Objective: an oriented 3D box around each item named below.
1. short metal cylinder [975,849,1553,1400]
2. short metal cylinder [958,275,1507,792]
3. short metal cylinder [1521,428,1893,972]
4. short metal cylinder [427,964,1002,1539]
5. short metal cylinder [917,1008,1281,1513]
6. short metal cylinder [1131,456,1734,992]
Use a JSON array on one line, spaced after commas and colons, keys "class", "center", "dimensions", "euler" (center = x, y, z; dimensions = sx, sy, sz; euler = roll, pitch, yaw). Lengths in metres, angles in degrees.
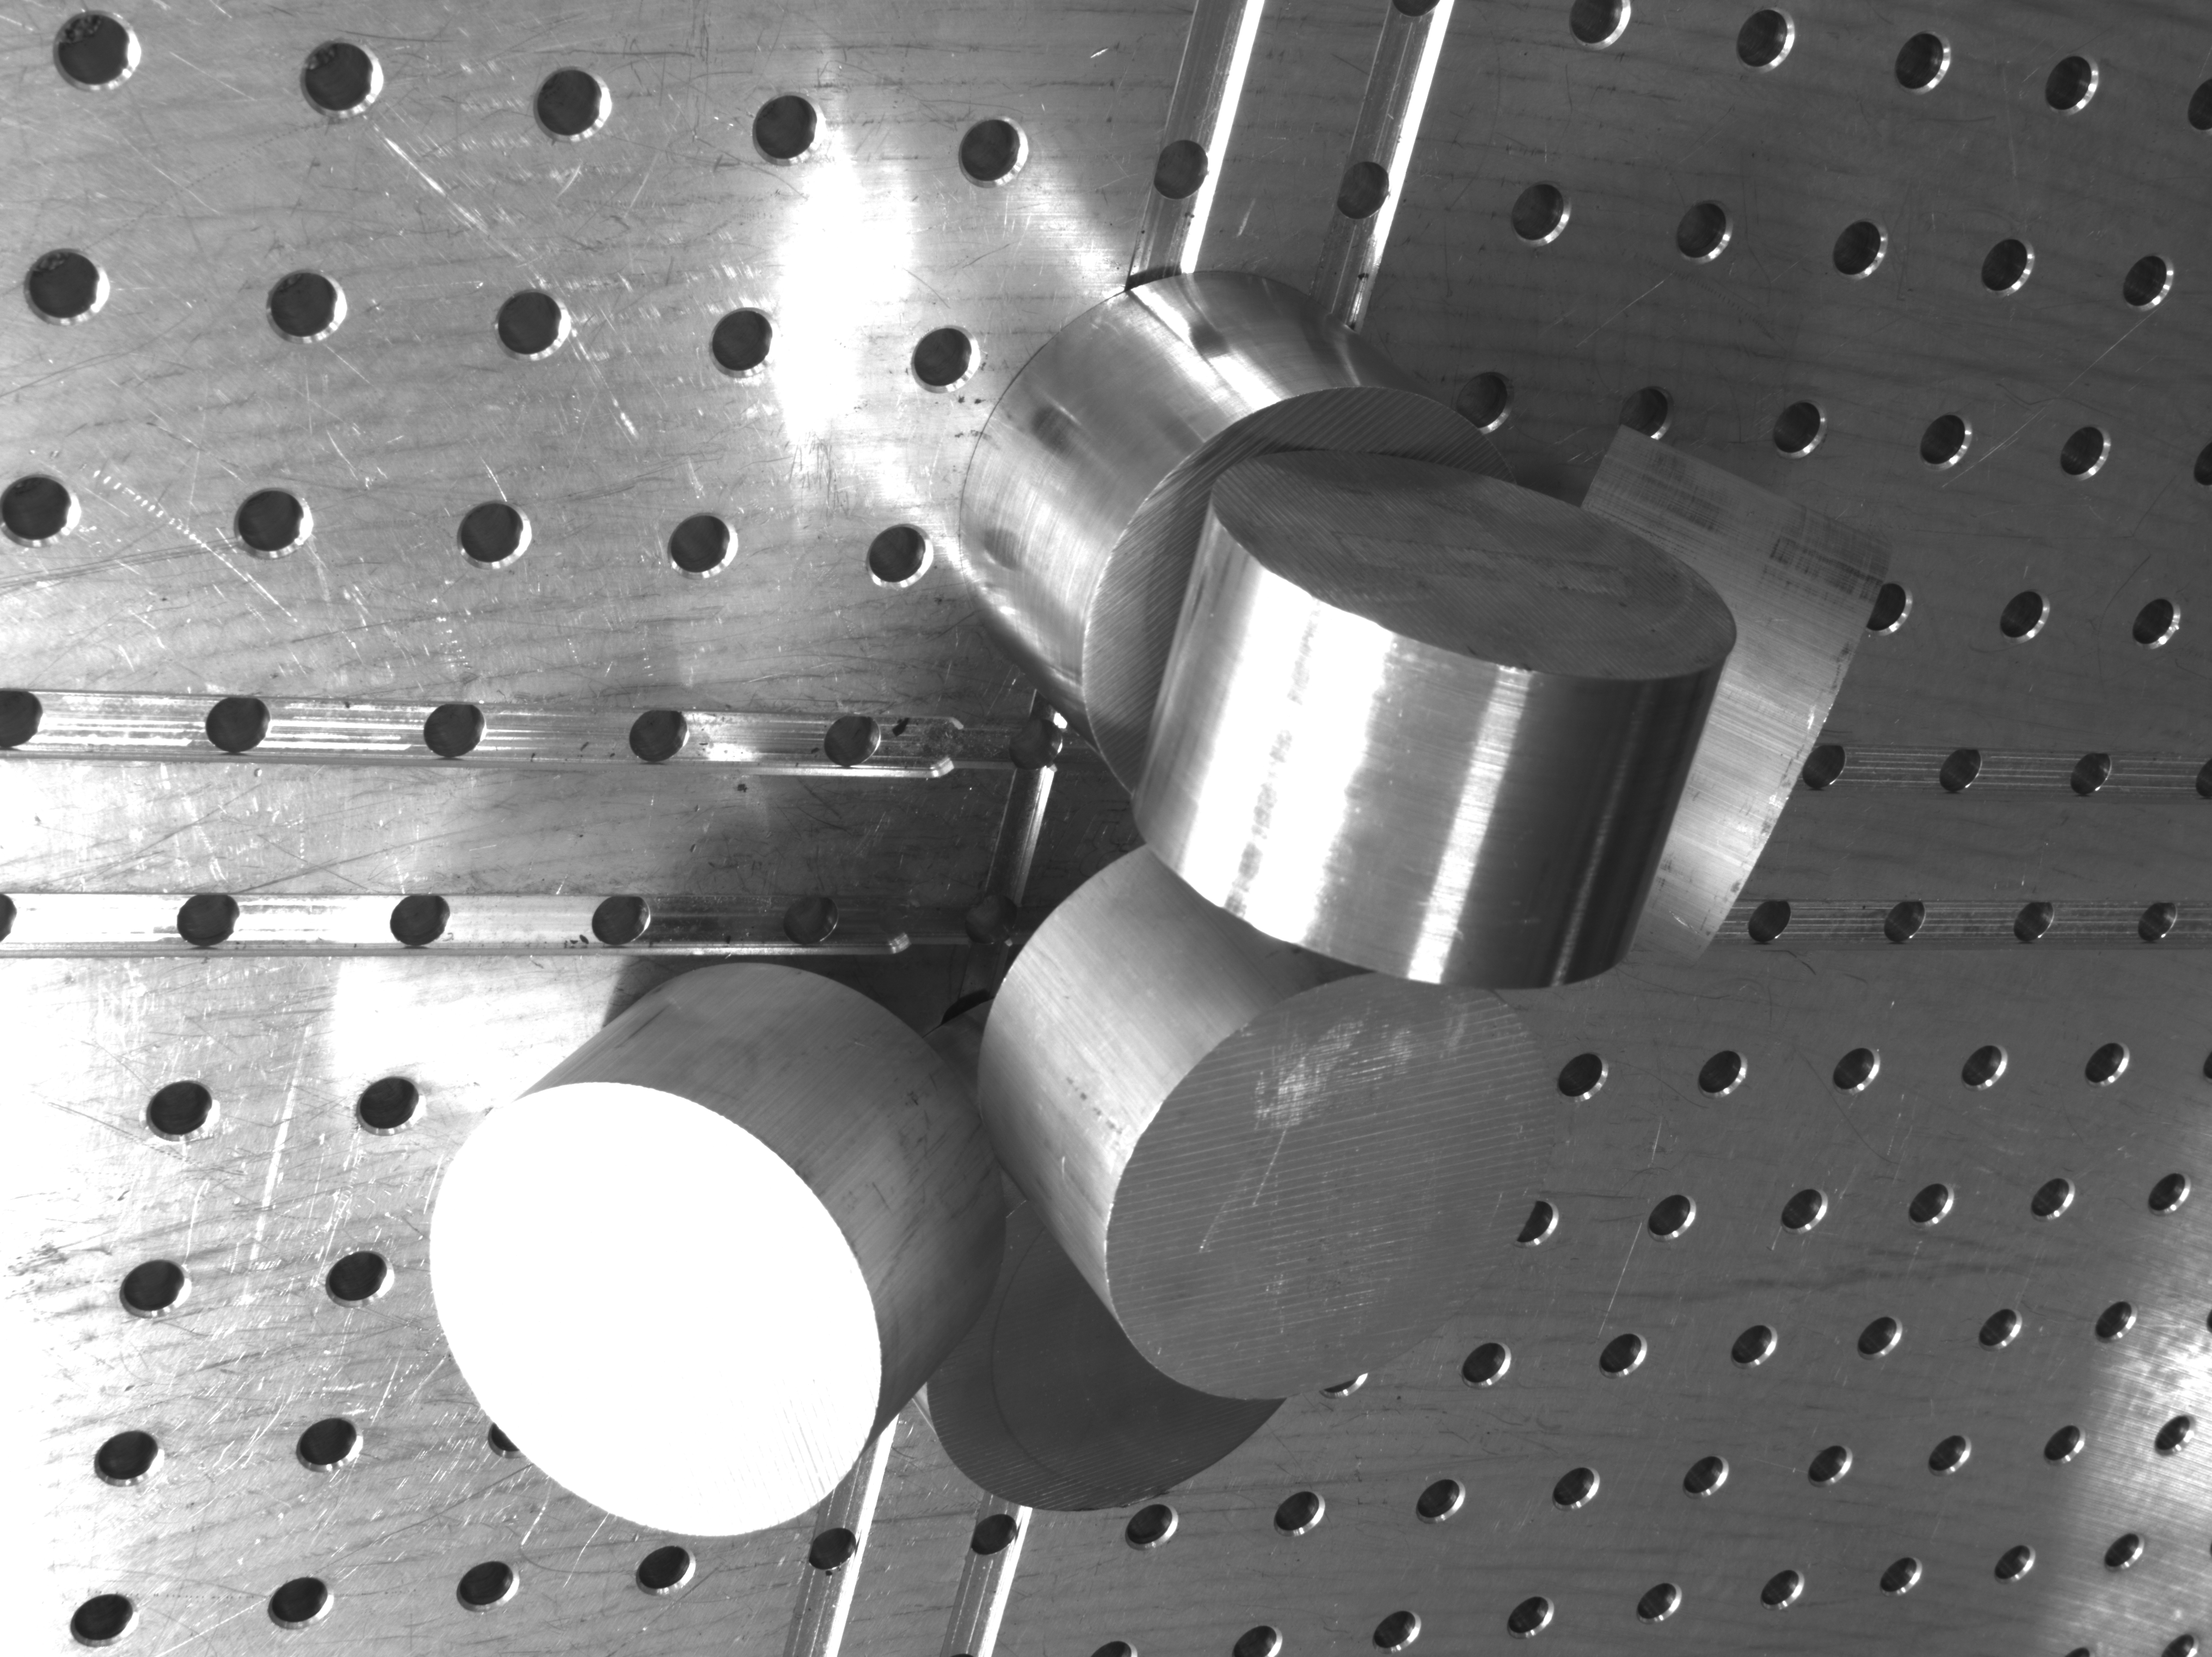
[{"class": "short metal cylinder", "center": [0.025, 0.046, 0.600], "dimensions": [0.080, 0.050, 0.080], "euler": [-13, 124, -21]}, {"class": "short metal cylinder", "center": [0.022, -0.045, 0.609], "dimensions": [0.080, 0.050, 0.080], "euler": [-14, 124, -21]}, {"class": "short metal cylinder", "center": [0.095, -0.022, 0.634], "dimensions": [0.050, 0.080, 0.080], "euler": [26, 109, 5]}, {"class": "short metal cylinder", "center": [-0.064, 0.069, 0.606], "dimensions": [0.050, 0.080, 0.080], "euler": [-45, 151, -60]}, {"class": "short metal cylinder", "center": [-0.005, 0.076, 0.667], "dimensions": [0.080, 0.050, 0.080], "euler": [-14, 125, -21]}, {"class": "short metal cylinder", "center": [0.048, -0.017, 0.555], "dimensions": [0.080, 0.080, 0.050], "euler": [0, 118, -28]}]
